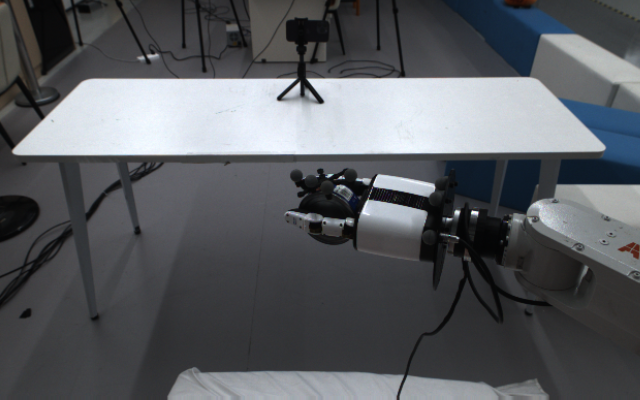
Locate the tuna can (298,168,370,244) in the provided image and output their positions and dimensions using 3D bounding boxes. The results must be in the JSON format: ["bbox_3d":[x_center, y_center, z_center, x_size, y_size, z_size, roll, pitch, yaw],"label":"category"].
[{"bbox_3d":[0.017,0.018,0.672,0.085,0.085,0.034,14,34,17],"label":"tuna can"}]
